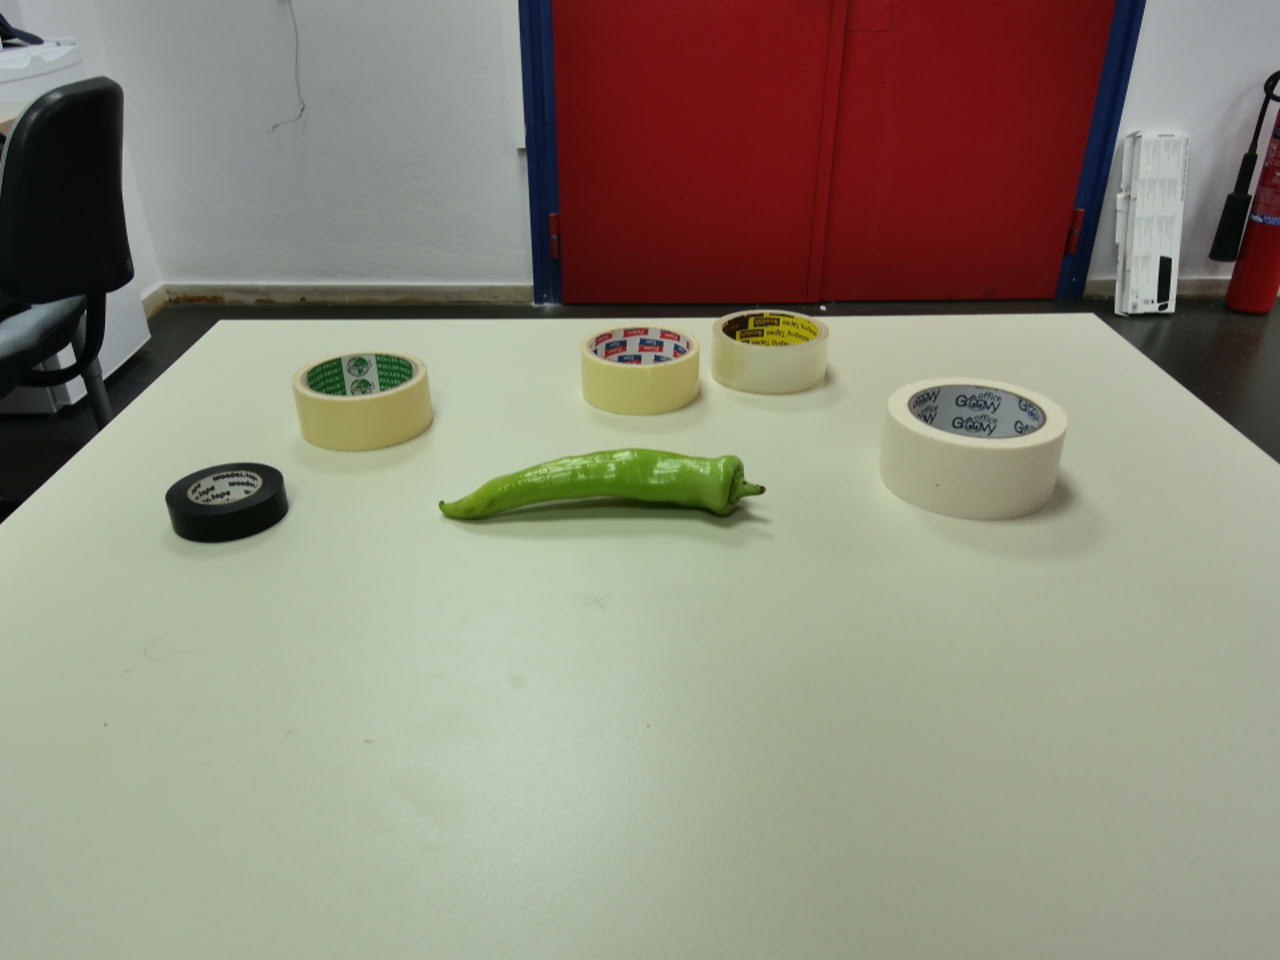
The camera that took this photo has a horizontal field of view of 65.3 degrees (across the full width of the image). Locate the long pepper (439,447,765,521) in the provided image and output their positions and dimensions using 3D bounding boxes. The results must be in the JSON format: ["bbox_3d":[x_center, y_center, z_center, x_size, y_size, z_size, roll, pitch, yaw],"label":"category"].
[{"bbox_3d":[-0.023,0.001,0.606,0.197,0.038,0.046,1,27,2],"label":"long pepper"}]
